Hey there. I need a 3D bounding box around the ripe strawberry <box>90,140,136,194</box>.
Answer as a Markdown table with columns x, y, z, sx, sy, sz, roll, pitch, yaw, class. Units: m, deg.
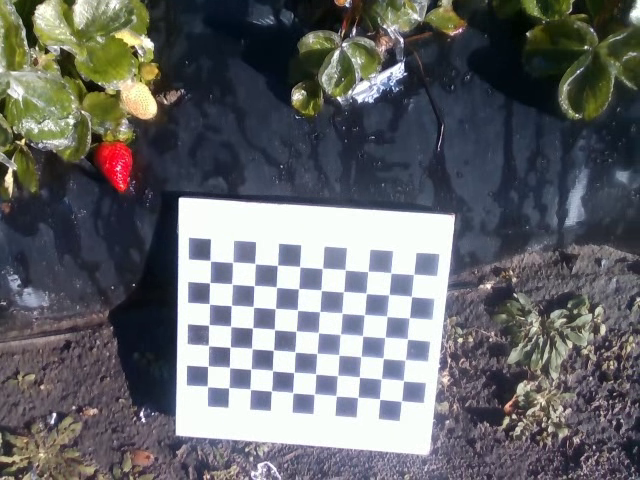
| x | y | z | sx | sy | sz | roll | pitch | yaw | class |
| --- | --- | --- | --- | --- | --- | --- | --- | --- | --- |
| -0.212 | -0.073 | 0.634 | 0.041 | 0.052 | 0.040 | -14 | 3 | 4 | ripe strawberry |
